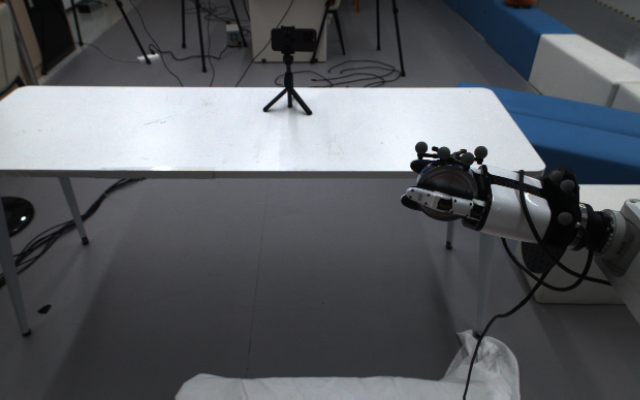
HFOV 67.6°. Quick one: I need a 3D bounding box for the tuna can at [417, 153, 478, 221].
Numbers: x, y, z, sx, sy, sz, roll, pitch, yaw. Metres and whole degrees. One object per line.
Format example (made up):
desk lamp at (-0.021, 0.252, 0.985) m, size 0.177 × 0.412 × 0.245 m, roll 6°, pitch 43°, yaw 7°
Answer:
tuna can at (0.181, -0.017, 0.693) m, size 0.085 × 0.085 × 0.034 m, roll 9°, pitch 24°, yaw 10°
